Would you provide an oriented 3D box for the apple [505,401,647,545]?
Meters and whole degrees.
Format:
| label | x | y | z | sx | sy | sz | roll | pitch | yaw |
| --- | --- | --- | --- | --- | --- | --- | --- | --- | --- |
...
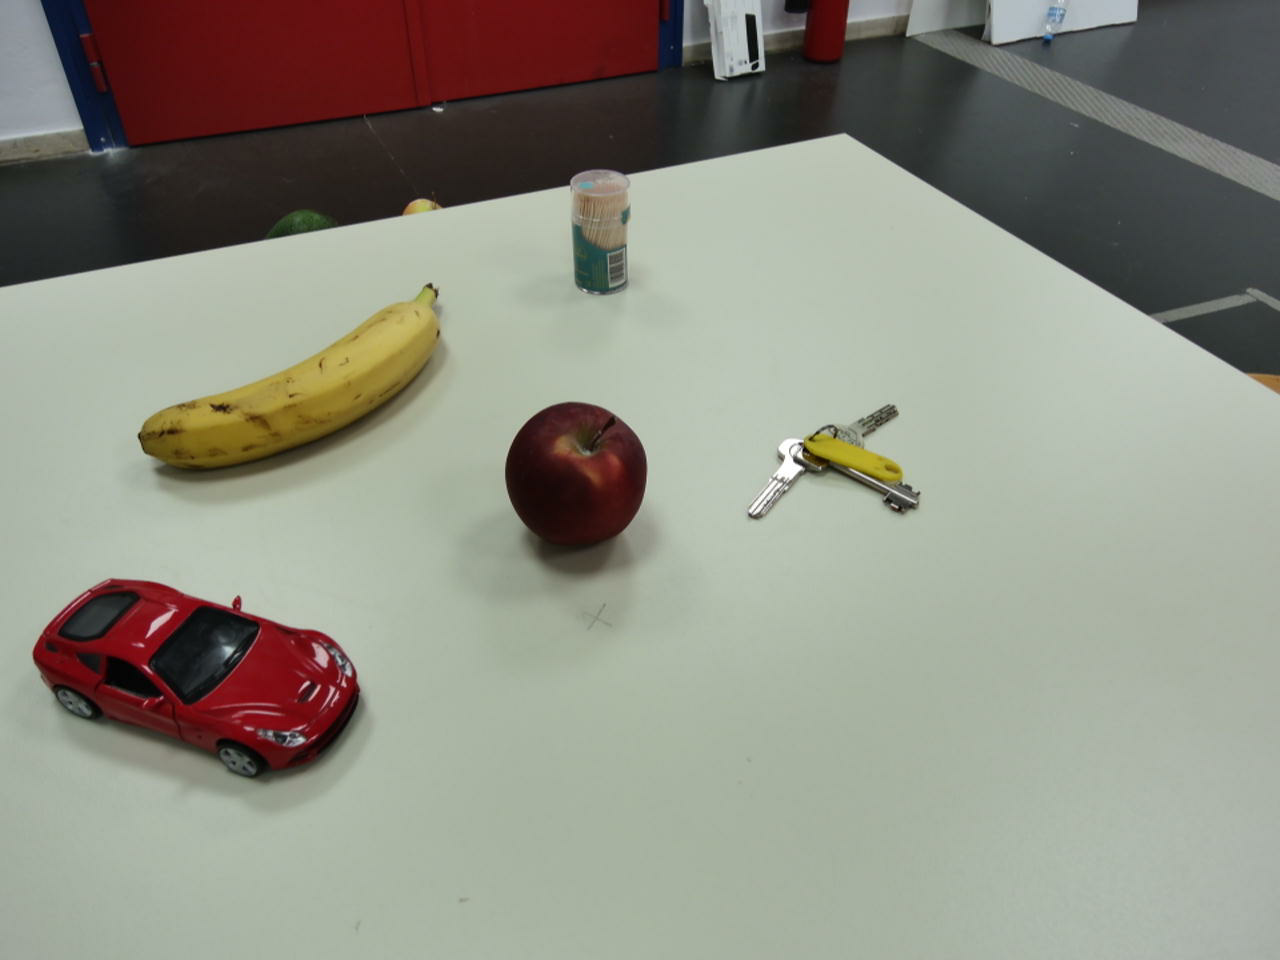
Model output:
| label | x | y | z | sx | sy | sz | roll | pitch | yaw |
| --- | --- | --- | --- | --- | --- | --- | --- | --- | --- |
| apple | -0.031 | -0.002 | 0.486 | 0.070 | 0.072 | 0.070 | 1 | 39 | -1 |
